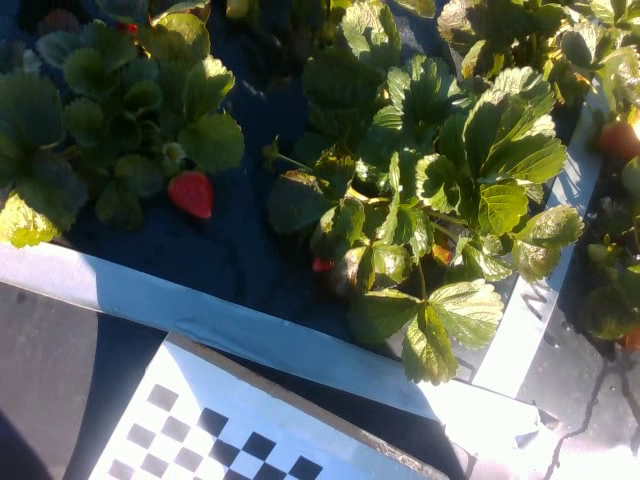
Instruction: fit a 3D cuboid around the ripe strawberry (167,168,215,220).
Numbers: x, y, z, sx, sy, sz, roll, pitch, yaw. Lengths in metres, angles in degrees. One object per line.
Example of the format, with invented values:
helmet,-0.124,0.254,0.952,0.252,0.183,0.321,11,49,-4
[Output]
ripe strawberry,-0.118,-0.042,0.554,0.045,0.059,0.042,-31,-5,14
